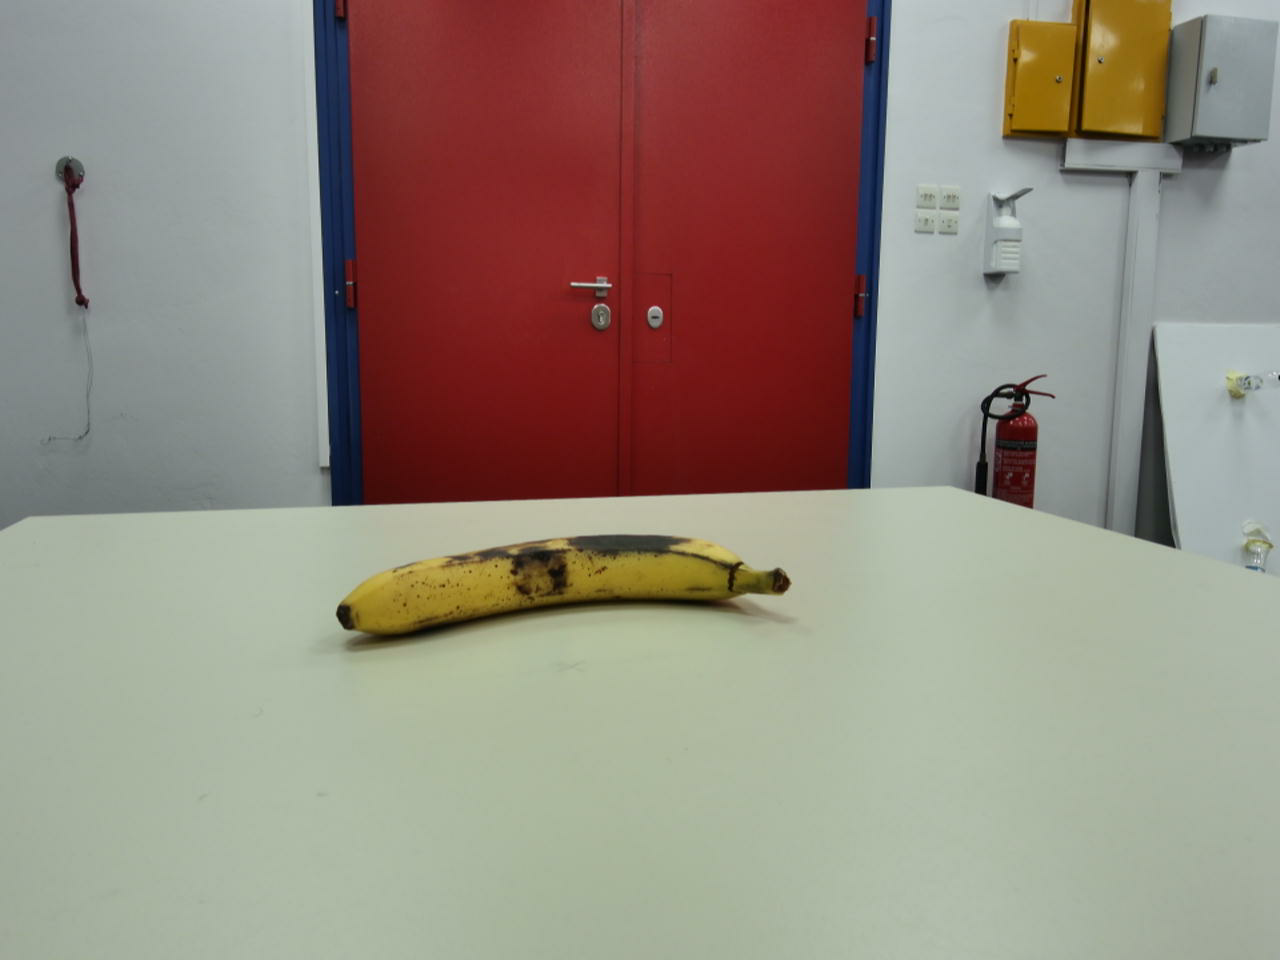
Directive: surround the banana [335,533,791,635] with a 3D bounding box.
[{"bbox_3d":[-0.039,0.052,0.519,0.222,0.037,0.084,-1,7,-13],"label":"banana"}]
